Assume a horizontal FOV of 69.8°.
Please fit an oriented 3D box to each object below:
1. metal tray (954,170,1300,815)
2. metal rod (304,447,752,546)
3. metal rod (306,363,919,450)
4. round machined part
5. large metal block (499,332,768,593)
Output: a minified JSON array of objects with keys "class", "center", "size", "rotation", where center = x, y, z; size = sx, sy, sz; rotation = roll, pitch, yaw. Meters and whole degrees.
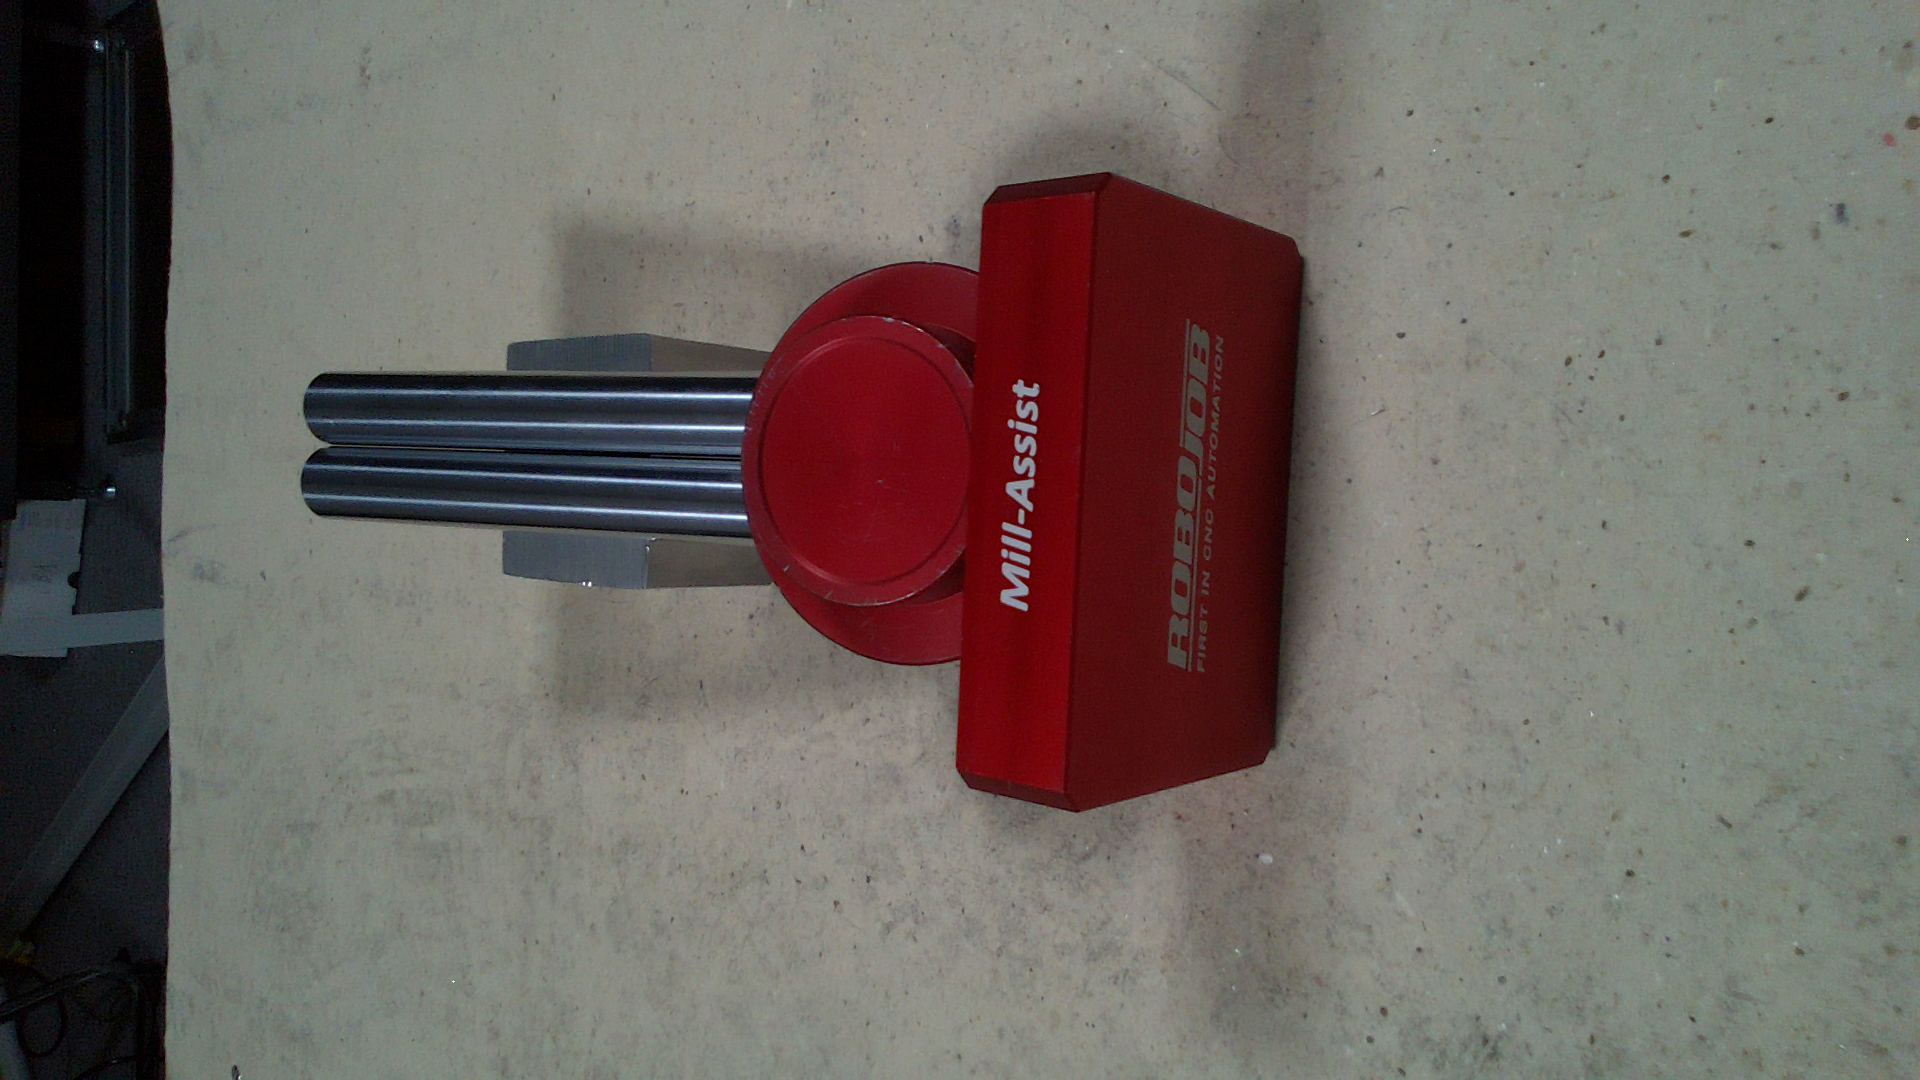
[{"class":"metal tray","center":[0.041,-0.010,0.317],"size":[0.030,0.090,0.130],"rotation":[4,93,40]},{"class":"metal rod","center":[-0.082,-0.012,0.406],"size":[0.299,0.025,0.025],"rotation":[3,92,27]},{"class":"metal rod","center":[-0.081,-0.039,0.404],"size":[0.299,0.025,0.025],"rotation":[3,92,27]},{"class":"round machined part","center":[-0.014,-0.018,0.332],"size":[0.098,0.042,0.098],"rotation":[1,93,29]},{"class":"large metal block","center":[-0.111,-0.026,0.467],"size":[0.080,0.050,0.080],"rotation":[4,93,40]}]
